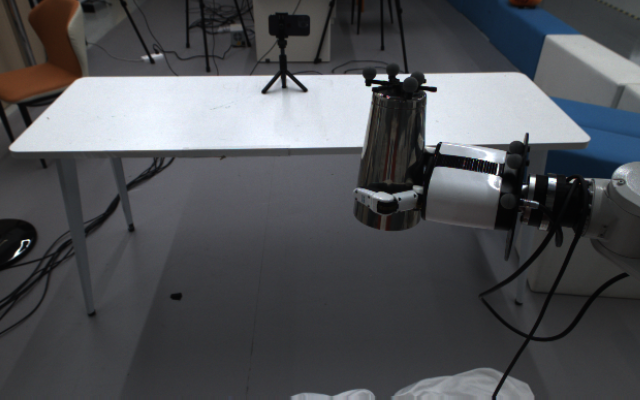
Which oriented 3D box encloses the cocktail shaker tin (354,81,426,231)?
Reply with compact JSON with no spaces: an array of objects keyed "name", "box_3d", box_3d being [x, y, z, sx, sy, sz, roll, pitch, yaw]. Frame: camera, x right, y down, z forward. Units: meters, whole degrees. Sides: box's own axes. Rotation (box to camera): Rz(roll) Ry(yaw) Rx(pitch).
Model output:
[{"name":"cocktail shaker tin","box_3d":[0.096,-0.057,0.629,0.093,0.170,0.093,1,28,-1]}]
